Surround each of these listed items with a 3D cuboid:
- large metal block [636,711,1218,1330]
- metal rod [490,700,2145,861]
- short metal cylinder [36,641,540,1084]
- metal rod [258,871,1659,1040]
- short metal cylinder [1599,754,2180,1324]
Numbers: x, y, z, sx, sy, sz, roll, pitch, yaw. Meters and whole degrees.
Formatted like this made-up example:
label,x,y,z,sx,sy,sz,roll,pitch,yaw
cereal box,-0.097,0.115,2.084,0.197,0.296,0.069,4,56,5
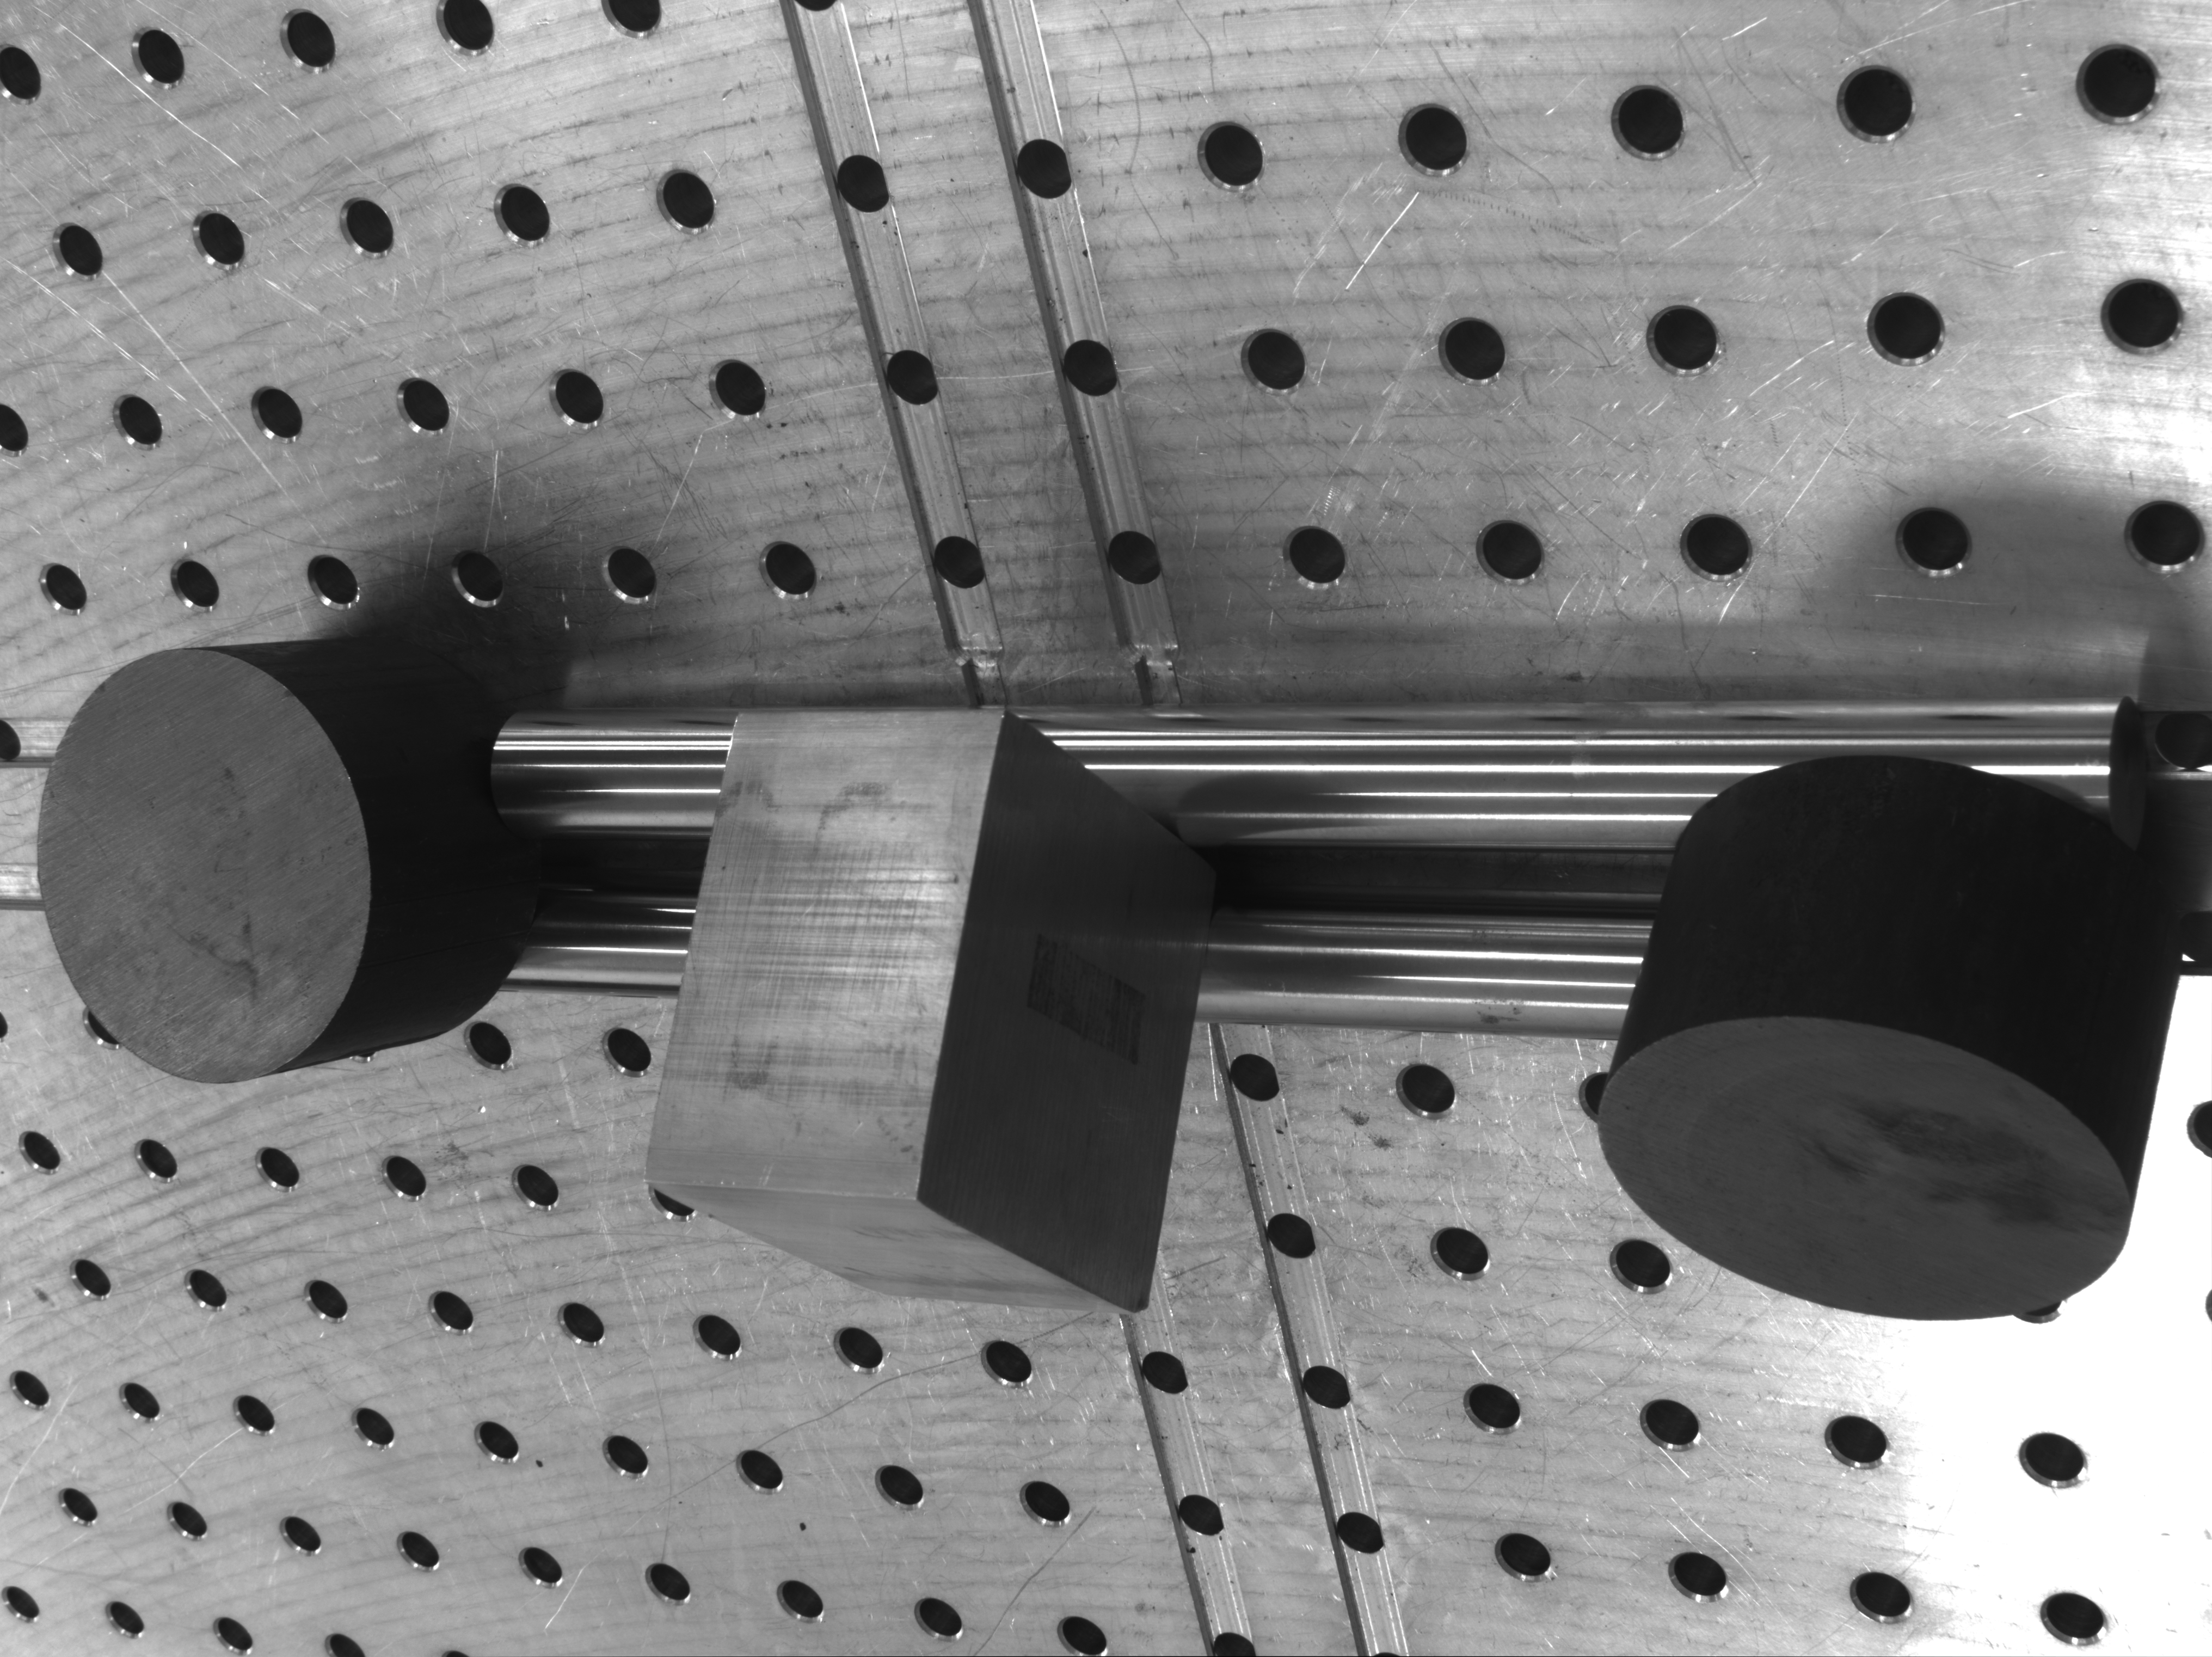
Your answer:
label,x,y,z,sx,sy,sz,roll,pitch,yaw
large metal block,-0.027,0.033,0.606,0.050,0.080,0.080,1,160,28
metal rod,0.023,-0.009,0.628,0.299,0.025,0.025,1,119,28
short metal cylinder,-0.155,0.005,0.698,0.080,0.050,0.080,3,97,28
metal rod,-0.034,0.022,0.677,0.299,0.025,0.025,1,119,28
short metal cylinder,0.121,0.033,0.568,0.080,0.050,0.080,15,146,11
